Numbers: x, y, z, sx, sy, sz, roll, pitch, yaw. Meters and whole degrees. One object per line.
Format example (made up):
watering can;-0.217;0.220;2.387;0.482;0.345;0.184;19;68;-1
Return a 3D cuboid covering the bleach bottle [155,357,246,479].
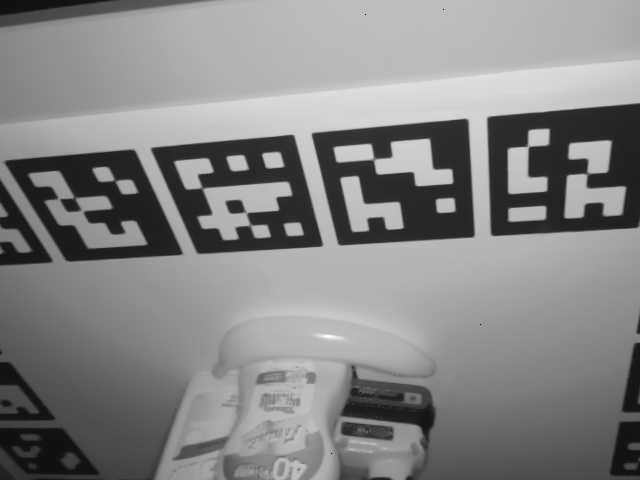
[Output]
bleach bottle;-0.088;0.215;0.566;0.102;0.253;0.067;-1;134;9

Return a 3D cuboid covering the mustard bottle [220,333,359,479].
mustard bottle;-0.025;0.151;0.538;0.096;0.193;0.058;-2;128;11

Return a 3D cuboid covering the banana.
banana;0.000;0.074;0.584;0.197;0.039;0.073;-1;127;5

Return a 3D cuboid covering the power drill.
power drill;0.023;0.217;0.558;0.184;0.189;0.057;7;130;4
